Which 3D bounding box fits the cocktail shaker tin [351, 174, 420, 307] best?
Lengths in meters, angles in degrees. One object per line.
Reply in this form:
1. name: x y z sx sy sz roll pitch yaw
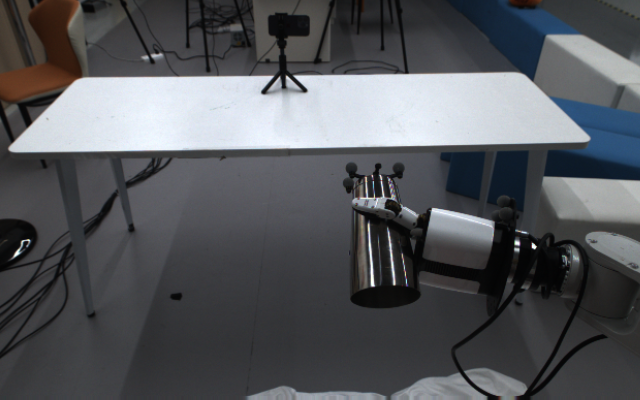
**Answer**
1. cocktail shaker tin: 0.082 0.052 0.665 0.093 0.093 0.170 0 59 -3
